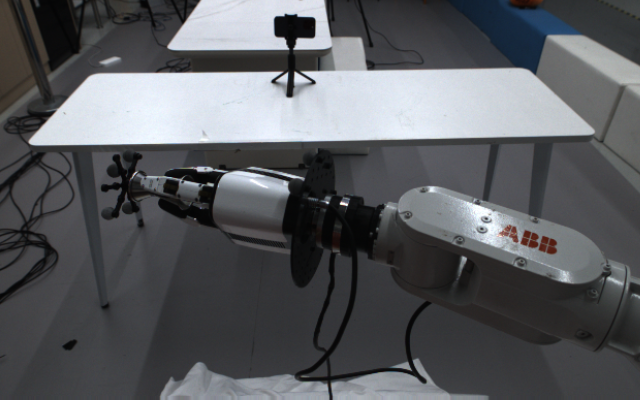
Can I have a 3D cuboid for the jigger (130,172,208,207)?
[{"bbox_3d":[-0.189,-0.015,0.600,0.071,0.043,0.043,7,35,13],"label":"jigger"}]
